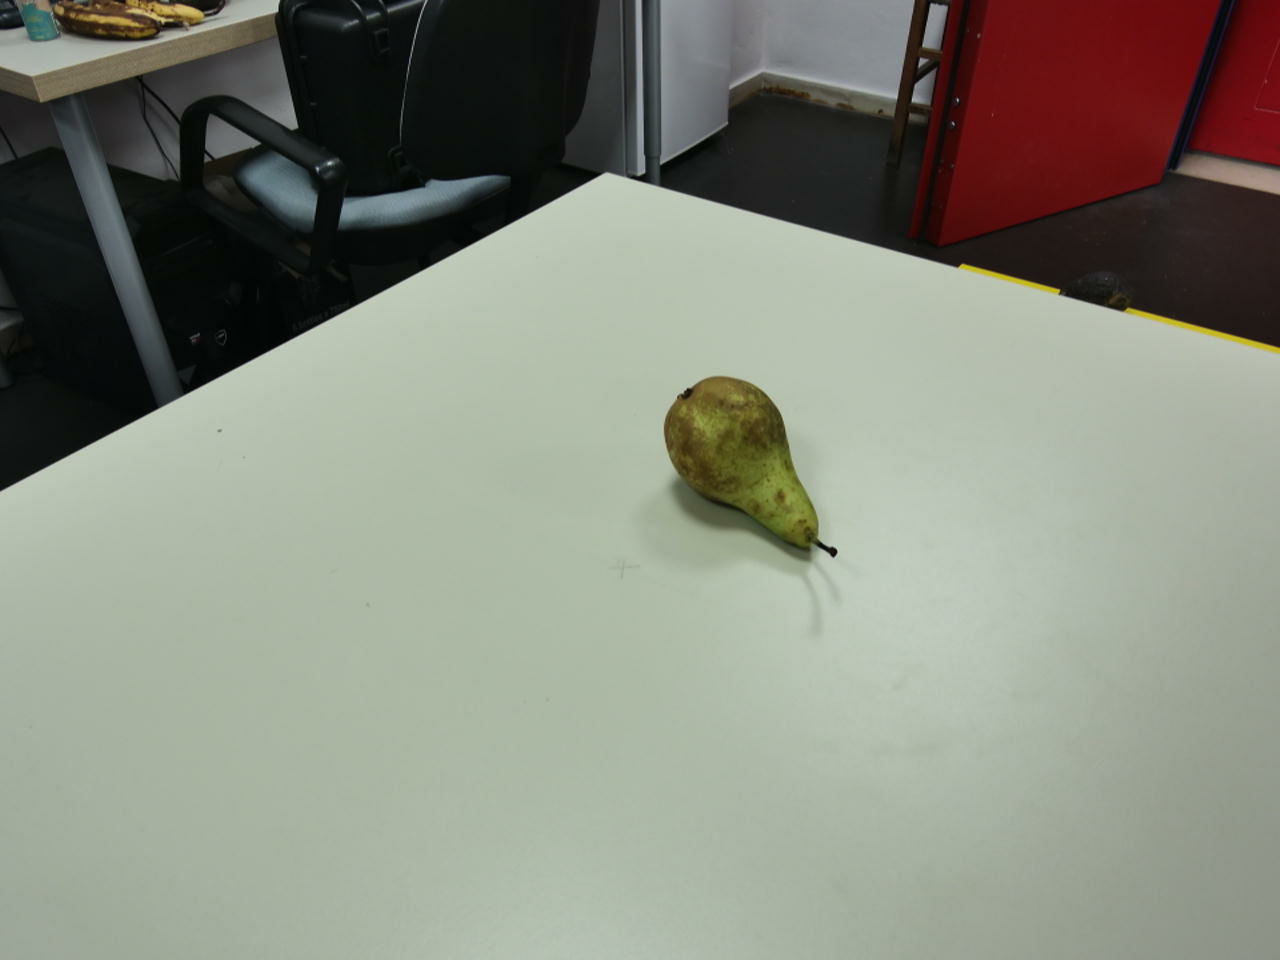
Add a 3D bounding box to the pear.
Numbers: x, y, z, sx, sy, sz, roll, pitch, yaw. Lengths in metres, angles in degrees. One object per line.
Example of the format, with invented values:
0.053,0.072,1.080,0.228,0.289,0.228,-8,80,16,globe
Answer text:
0.076,-0.010,0.585,0.144,0.075,0.071,30,47,34,pear
